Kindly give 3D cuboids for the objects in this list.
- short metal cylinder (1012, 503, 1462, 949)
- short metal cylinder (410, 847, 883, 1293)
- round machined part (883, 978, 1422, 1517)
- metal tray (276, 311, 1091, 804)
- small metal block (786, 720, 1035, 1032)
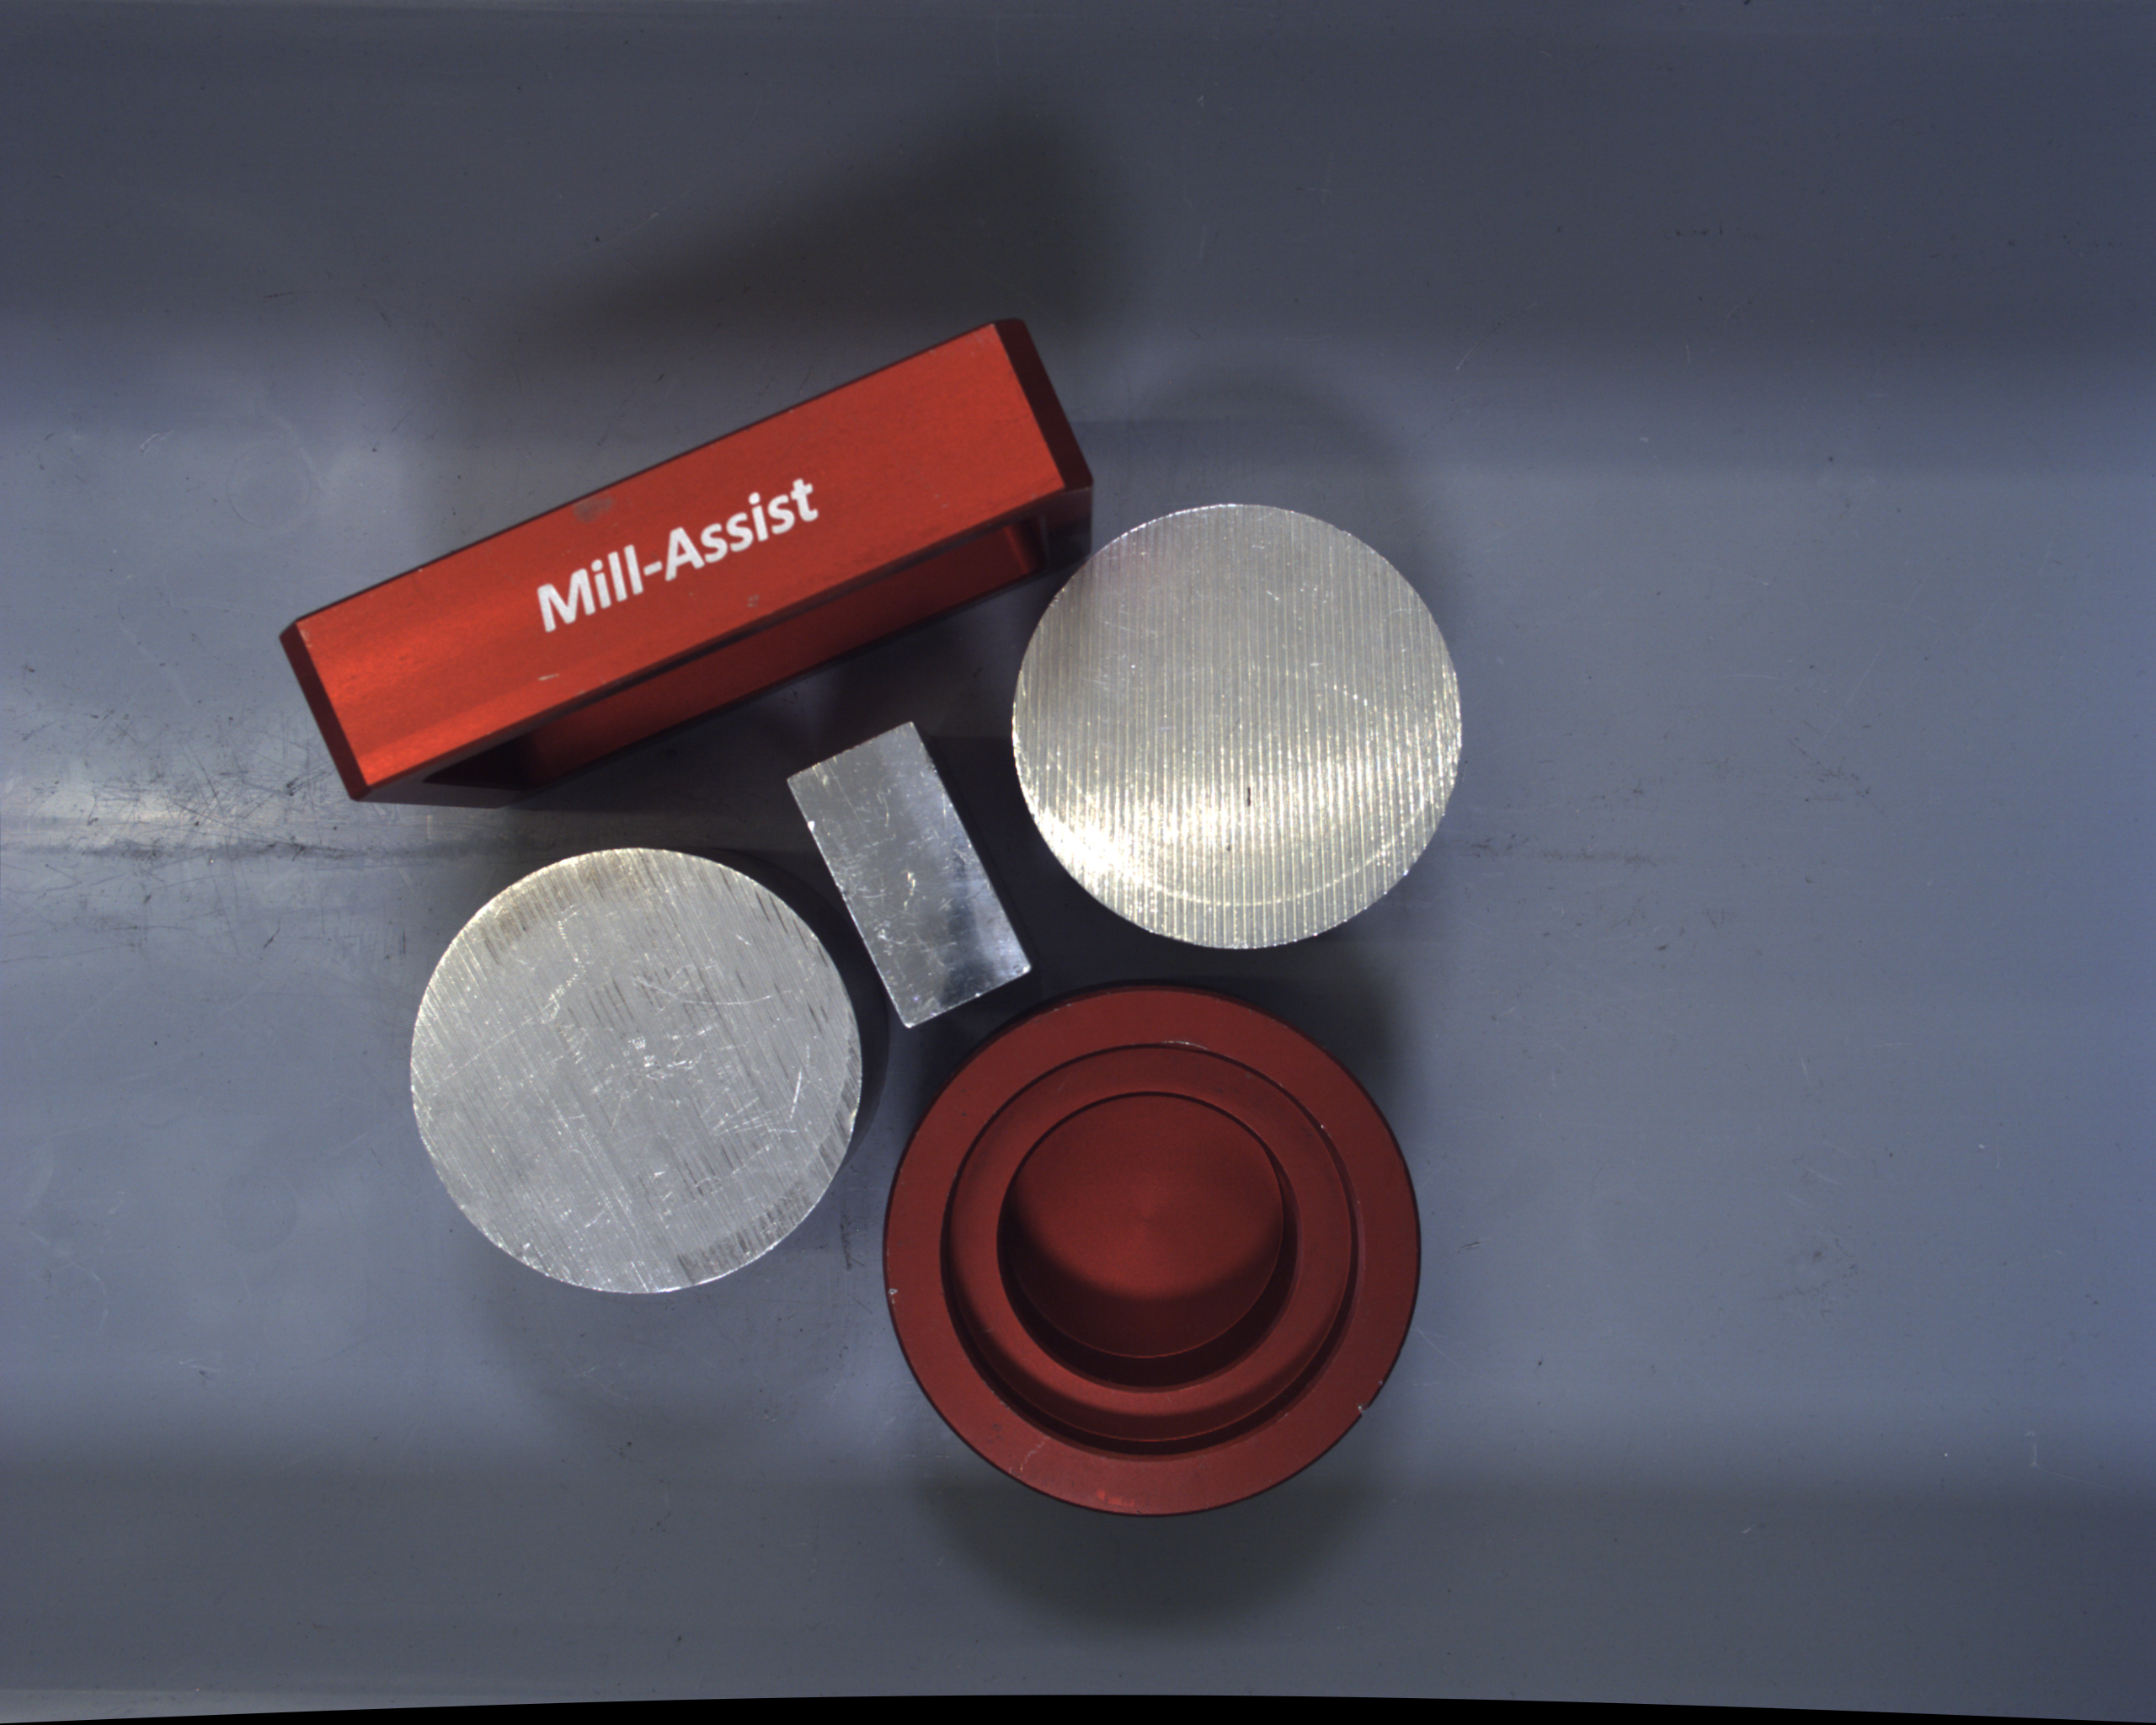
[{"bbox_3d":[0.028,-0.025,0.397,0.081,0.050,0.079,0,90,0],"label":"short metal cylinder"},{"bbox_3d":[-0.079,0.037,0.396,0.081,0.050,0.079,0,90,0],"label":"short metal cylinder"},{"bbox_3d":[0.014,0.071,0.401,0.099,0.042,0.097,0,90,0],"label":"round machined part"},{"bbox_3d":[-0.063,-0.050,0.376,0.131,0.090,0.030,-23,90,0],"label":"metal tray"},{"bbox_3d":[-0.030,0.002,0.396,0.025,0.050,0.050,-25,90,0],"label":"small metal block"}]
